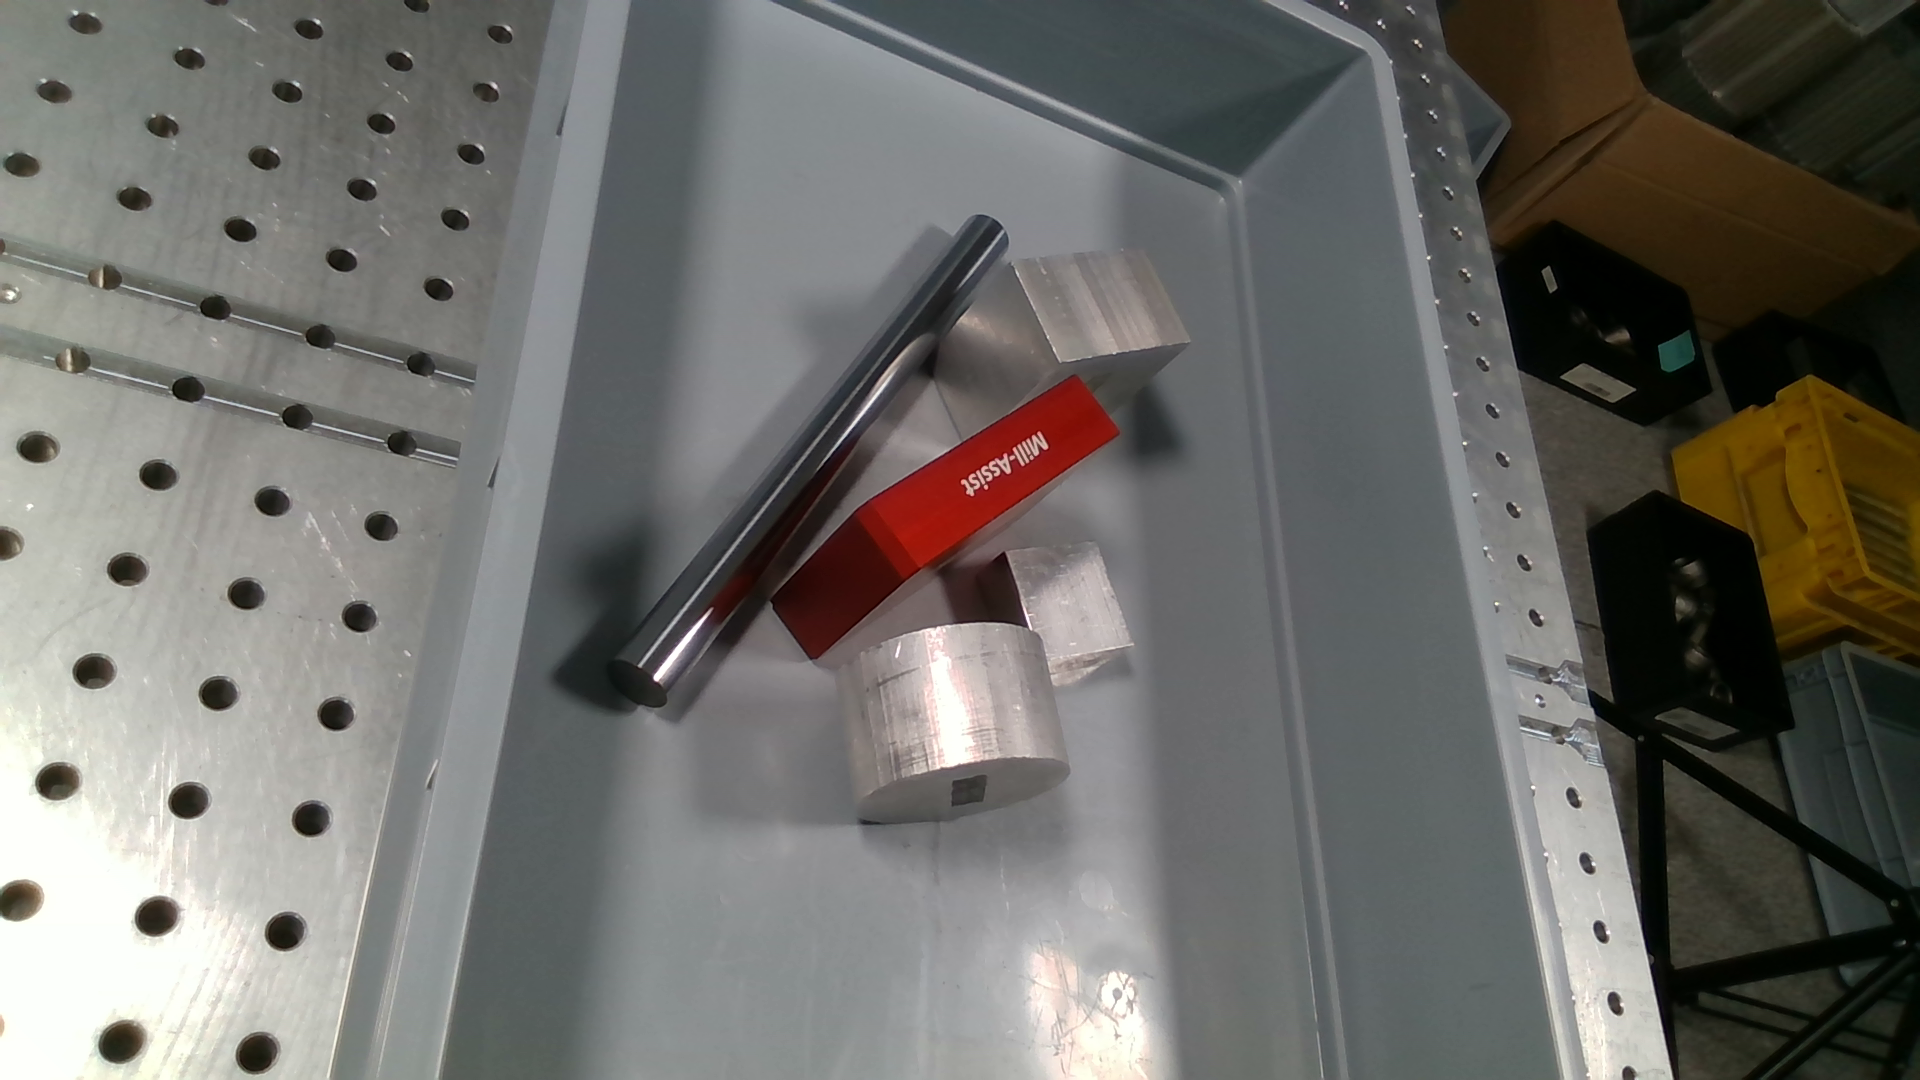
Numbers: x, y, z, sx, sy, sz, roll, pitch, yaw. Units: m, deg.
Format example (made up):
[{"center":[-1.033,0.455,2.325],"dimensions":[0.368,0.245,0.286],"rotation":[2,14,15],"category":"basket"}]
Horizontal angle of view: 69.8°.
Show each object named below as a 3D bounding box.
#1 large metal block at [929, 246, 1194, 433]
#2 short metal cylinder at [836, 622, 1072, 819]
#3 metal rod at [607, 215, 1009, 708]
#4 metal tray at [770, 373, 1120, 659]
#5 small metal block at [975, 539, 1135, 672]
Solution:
[{"center":[0.043,-0.086,0.622],"dimensions":[0.080,0.080,0.050],"rotation":[-14,73,-36],"category":"large metal block"},{"center":[-0.003,0.069,0.510],"dimensions":[0.080,0.080,0.050],"rotation":[3,63,-30],"category":"short metal cylinder"},{"center":[-0.051,-0.048,0.579],"dimensions":[0.025,0.025,0.299],"rotation":[39,51,-8],"category":"metal rod"},{"center":[-0.005,-0.010,0.544],"dimensions":[0.130,0.090,0.030],"rotation":[-35,86,-39],"category":"metal tray"},{"center":[0.041,0.029,0.593],"dimensions":[0.050,0.025,0.050],"rotation":[-6,69,-34],"category":"small metal block"}]
